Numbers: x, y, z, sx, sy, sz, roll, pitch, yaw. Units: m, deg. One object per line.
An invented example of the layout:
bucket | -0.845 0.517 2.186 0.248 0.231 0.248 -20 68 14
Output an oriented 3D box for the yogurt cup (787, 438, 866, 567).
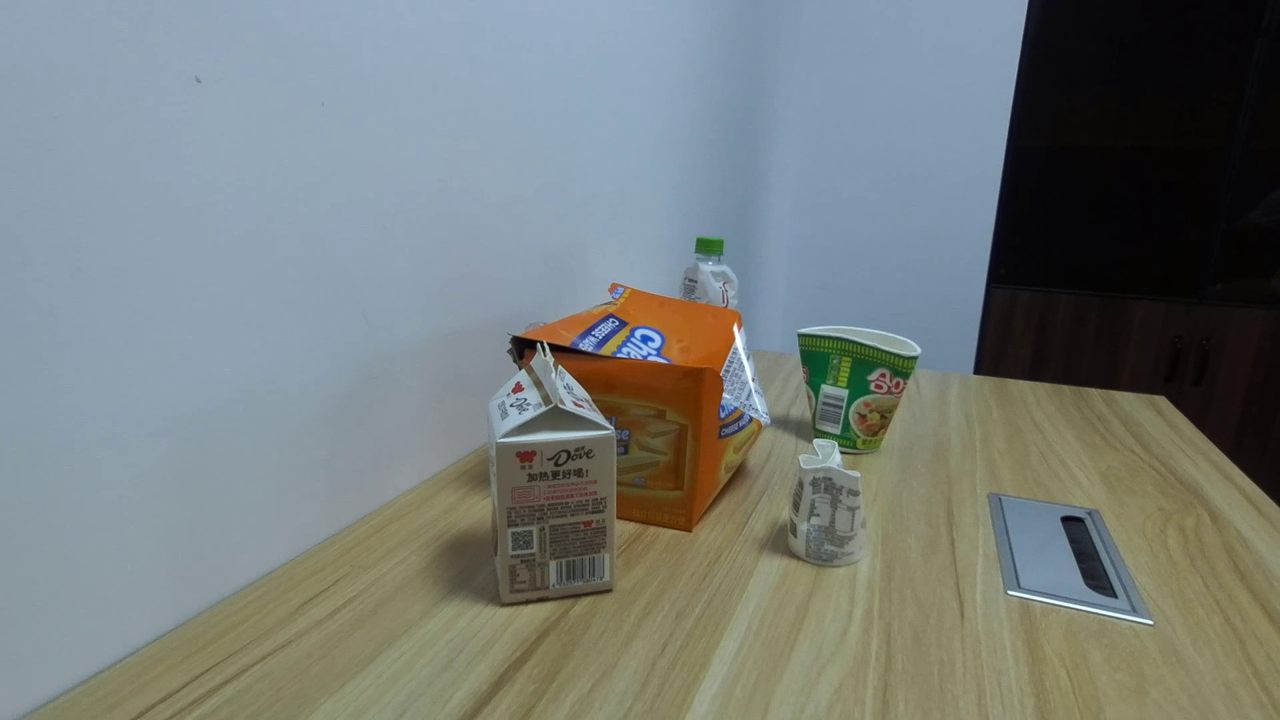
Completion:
yogurt cup | 0.131 0.100 0.497 0.055 0.072 0.055 7 18 27

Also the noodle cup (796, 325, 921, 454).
noodle cup | 0.208 0.028 0.688 0.070 0.111 0.114 -9 20 -26

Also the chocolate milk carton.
chocolate milk carton | -0.058 0.066 0.450 0.074 0.148 0.075 -3 16 -15

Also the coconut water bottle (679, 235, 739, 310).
coconut water bottle | 0.076 -0.041 0.785 0.067 0.187 0.067 0 12 0

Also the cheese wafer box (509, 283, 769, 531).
cheese wafer box | 0.018 0.026 0.619 0.191 0.145 0.219 6 16 17
